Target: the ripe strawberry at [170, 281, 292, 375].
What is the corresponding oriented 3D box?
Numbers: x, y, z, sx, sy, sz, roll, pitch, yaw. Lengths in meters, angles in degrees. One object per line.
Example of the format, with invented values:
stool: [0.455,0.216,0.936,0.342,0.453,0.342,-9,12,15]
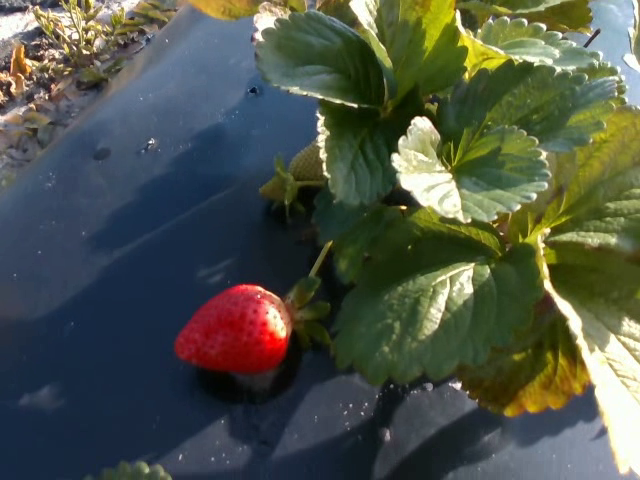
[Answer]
ripe strawberry: [-0.029,0.032,0.195,0.044,0.033,0.030,-15,11,-12]
